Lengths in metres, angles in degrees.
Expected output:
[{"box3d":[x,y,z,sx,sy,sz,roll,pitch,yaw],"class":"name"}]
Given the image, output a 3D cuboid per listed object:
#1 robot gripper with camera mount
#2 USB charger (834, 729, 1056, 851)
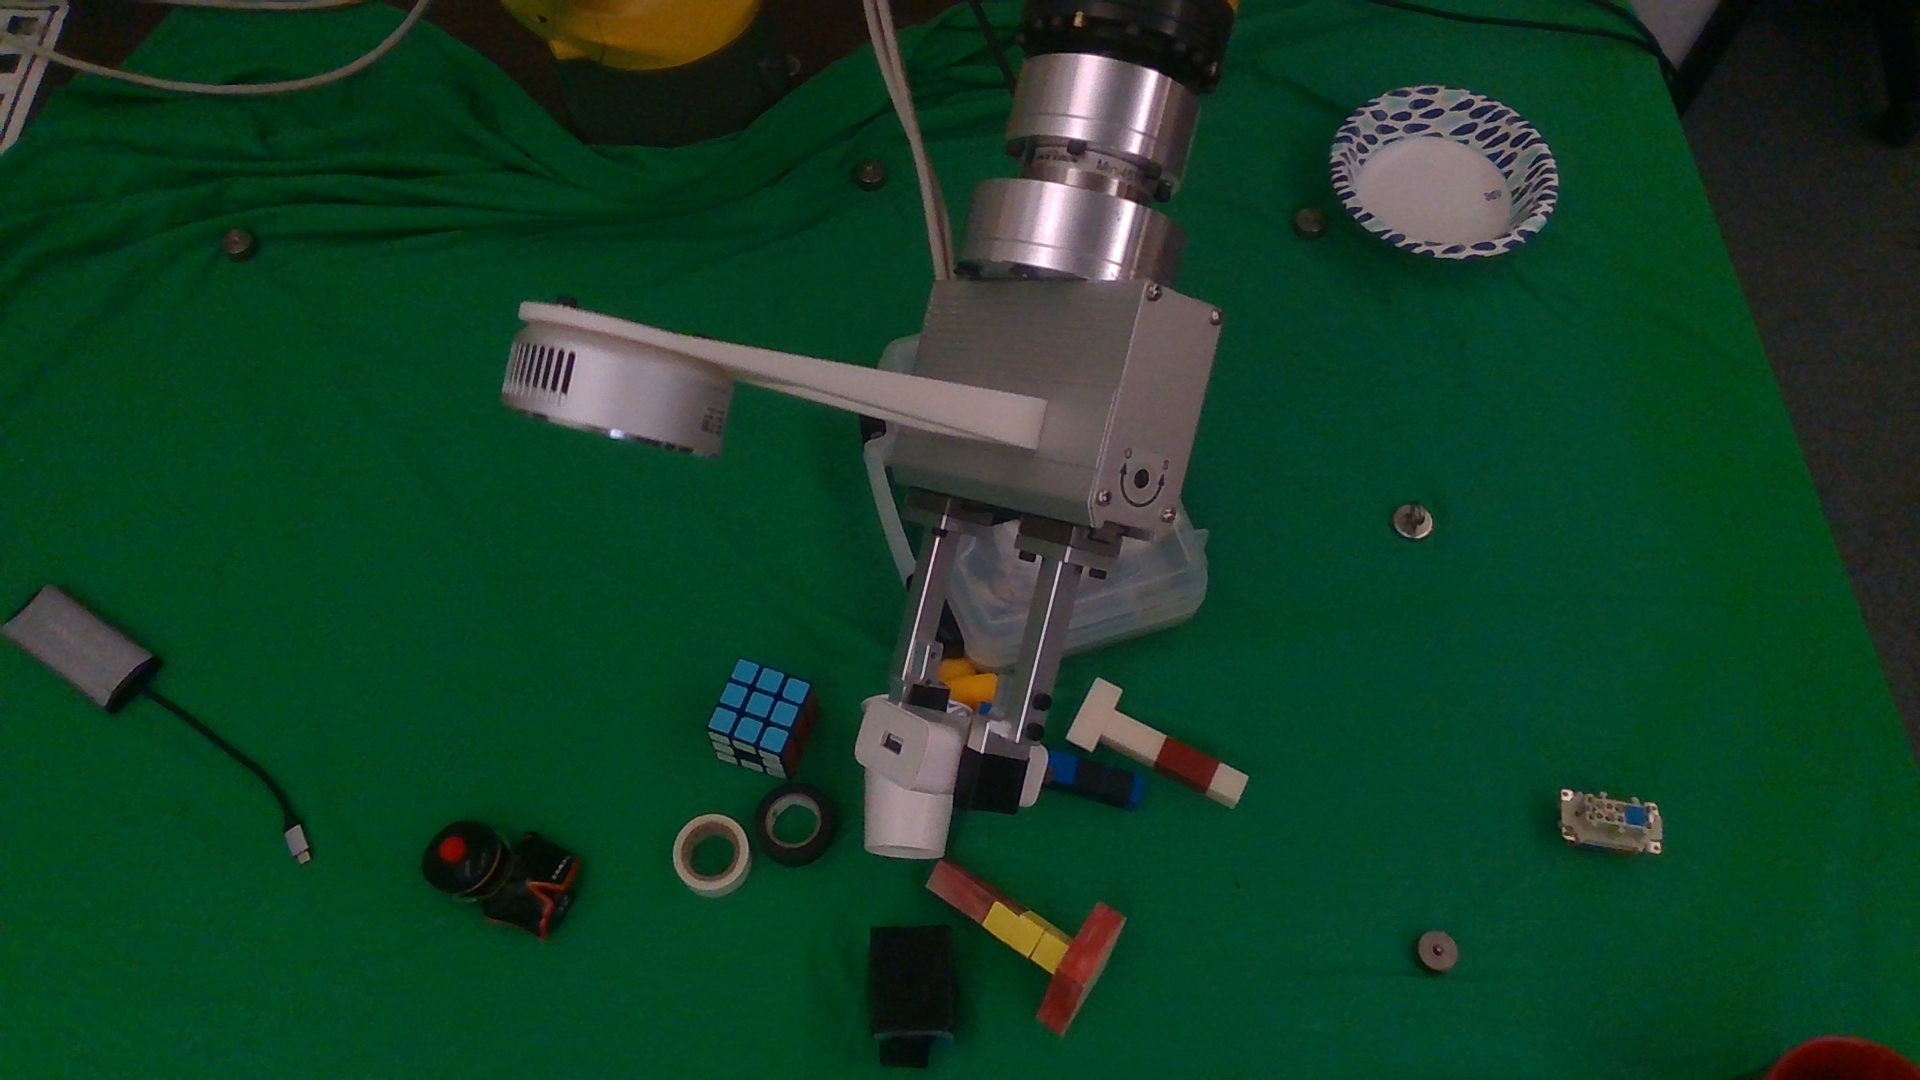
[{"box3d":[-0.047,-0.003,0.420,0.193,0.119,0.158,18,88,-36],"class":"robot gripper with camera mount"},{"box3d":[-0.003,0.087,0.473,0.075,0.045,0.029,13,99,-29],"class":"USB charger"}]
